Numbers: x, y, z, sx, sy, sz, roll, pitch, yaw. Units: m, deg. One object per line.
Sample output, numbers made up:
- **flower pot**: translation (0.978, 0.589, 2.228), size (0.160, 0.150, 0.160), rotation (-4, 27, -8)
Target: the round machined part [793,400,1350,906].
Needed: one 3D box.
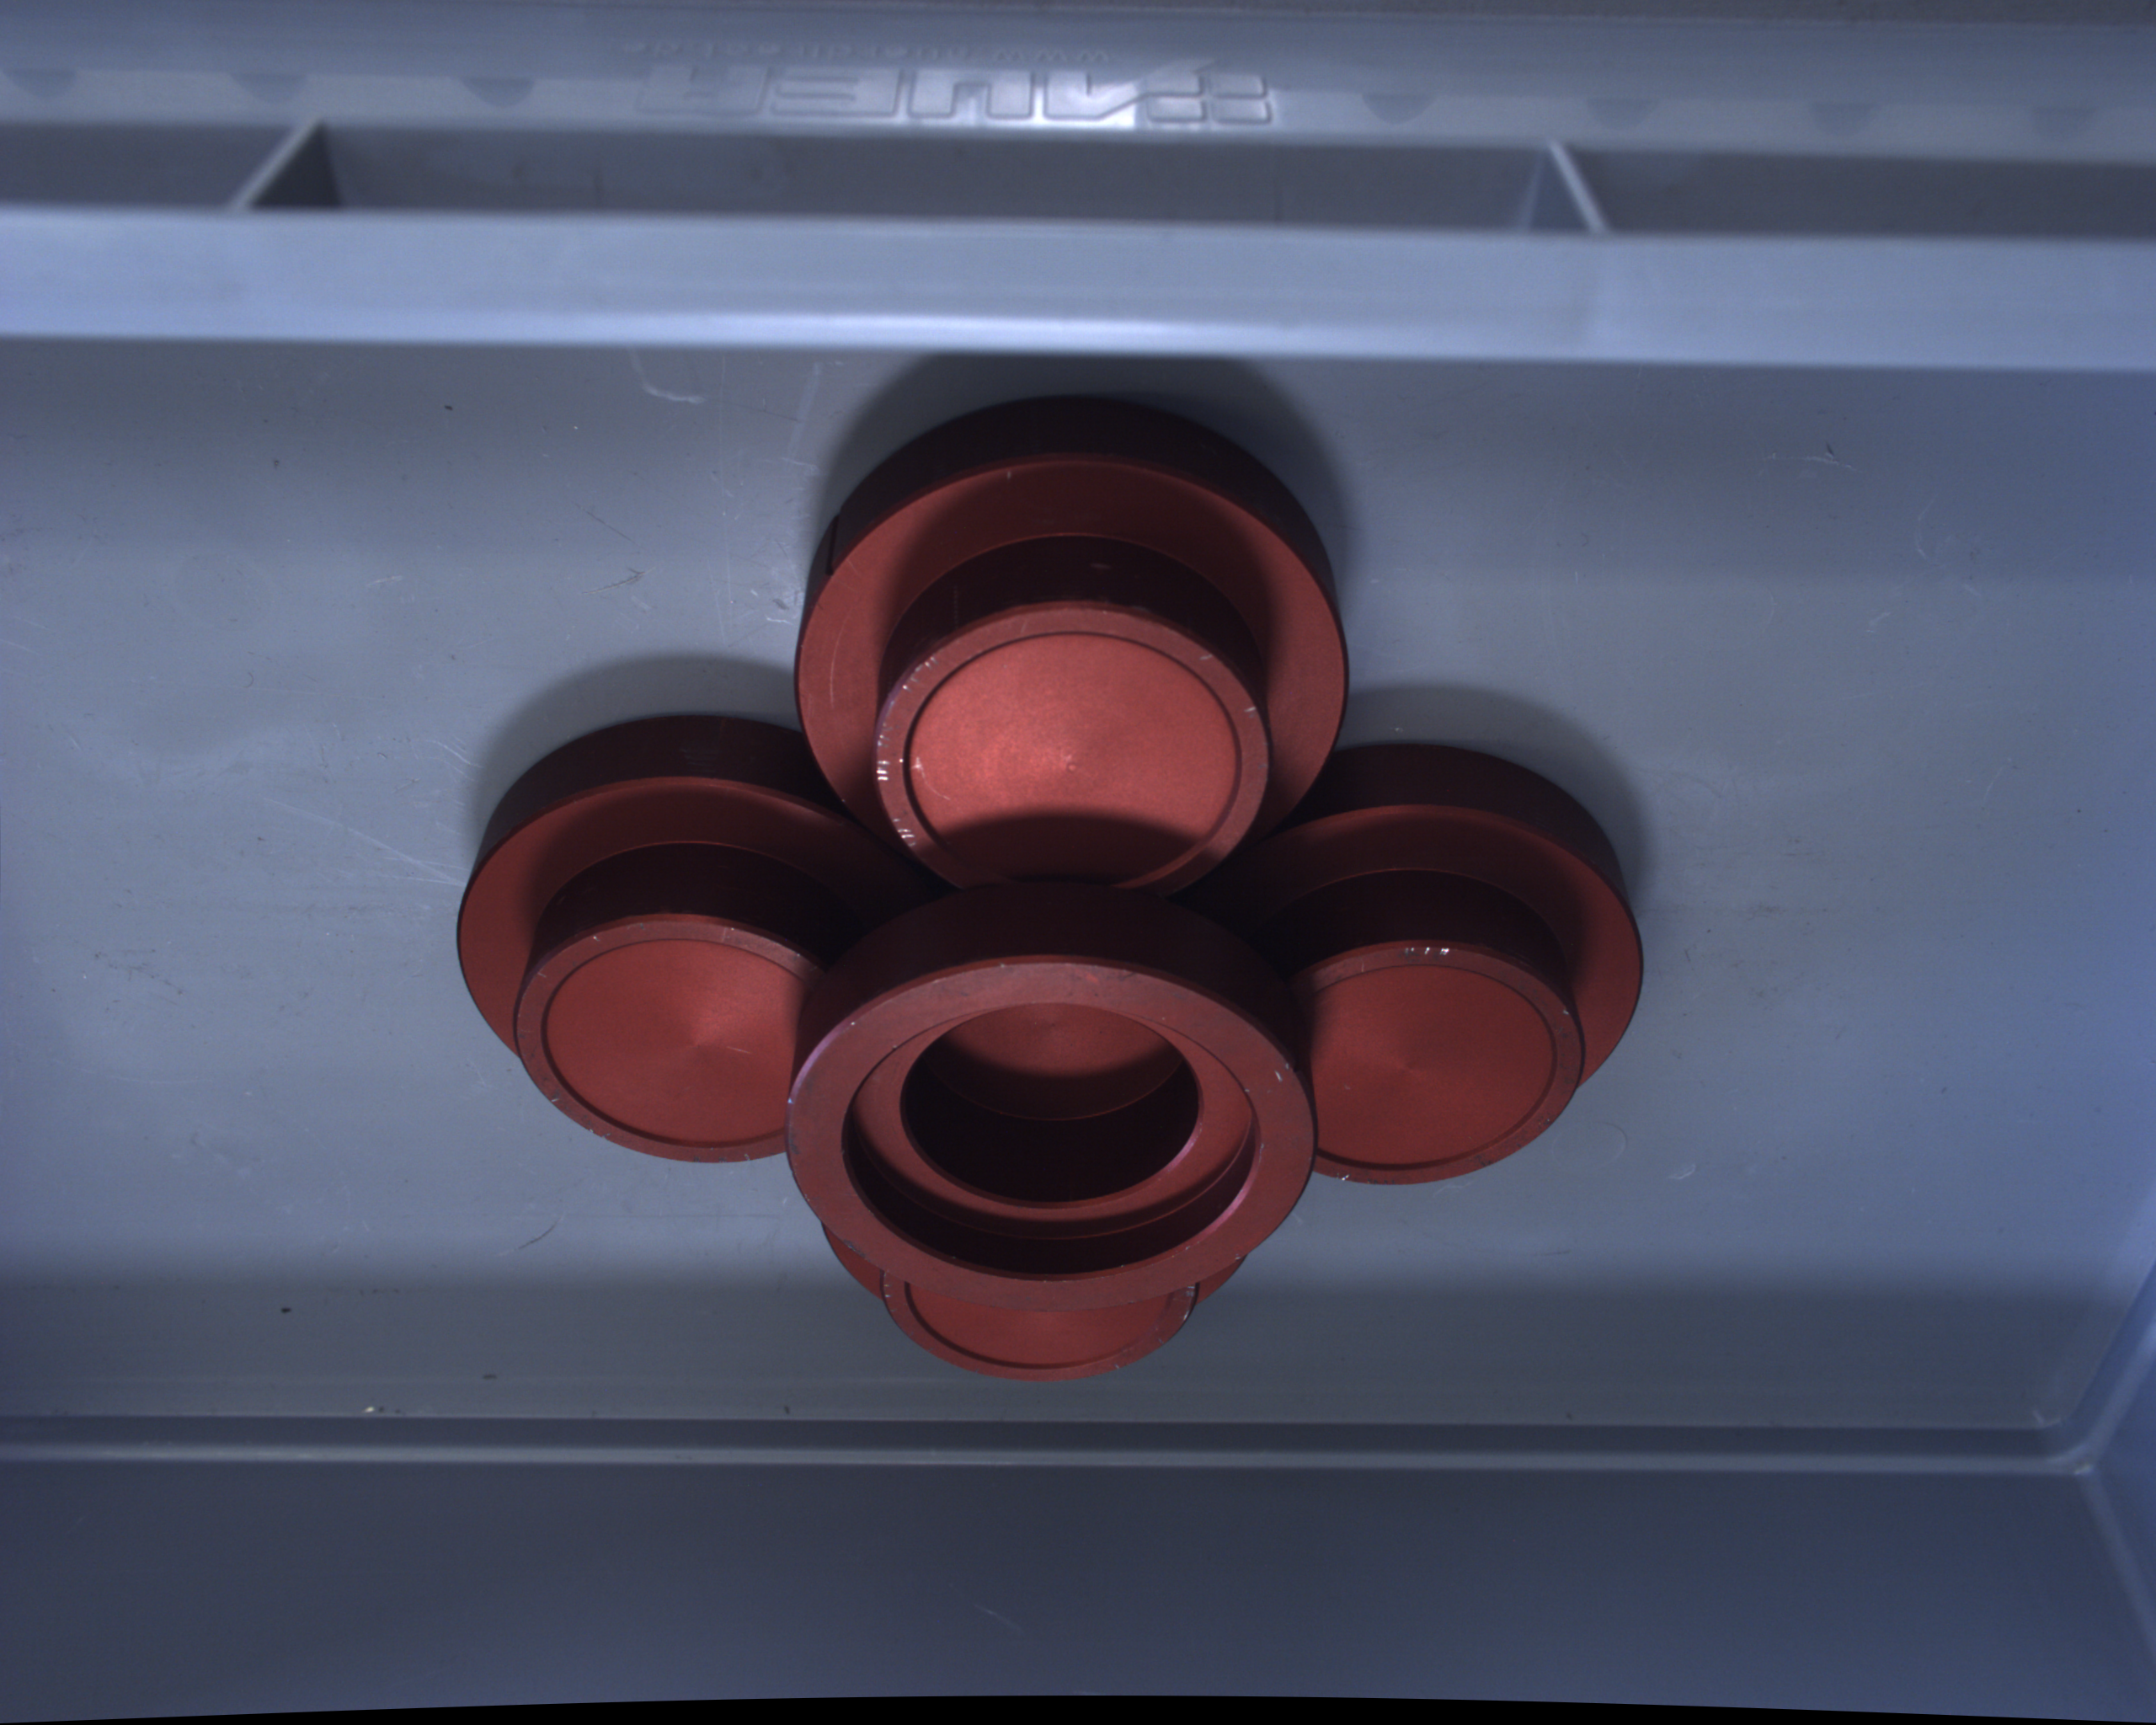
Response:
- **round machined part**: translation (-0.001, -0.028, 0.370), size (0.099, 0.042, 0.097), rotation (0, 130, 0)

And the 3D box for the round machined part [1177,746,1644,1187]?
- **round machined part**: translation (0.064, 0.027, 0.419), size (0.099, 0.042, 0.097), rotation (0, 130, 0)

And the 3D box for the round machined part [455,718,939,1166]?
- **round machined part**: translation (-0.073, 0.022, 0.413), size (0.099, 0.042, 0.097), rotation (0, 130, 0)

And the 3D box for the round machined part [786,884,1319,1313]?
- **round machined part**: translation (-0.005, 0.040, 0.402), size (0.099, 0.042, 0.097), rotation (0, 130, 0)

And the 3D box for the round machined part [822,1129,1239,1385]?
- **round machined part**: translation (-0.008, 0.078, 0.461), size (0.099, 0.042, 0.097), rotation (-1, 129, -1)
